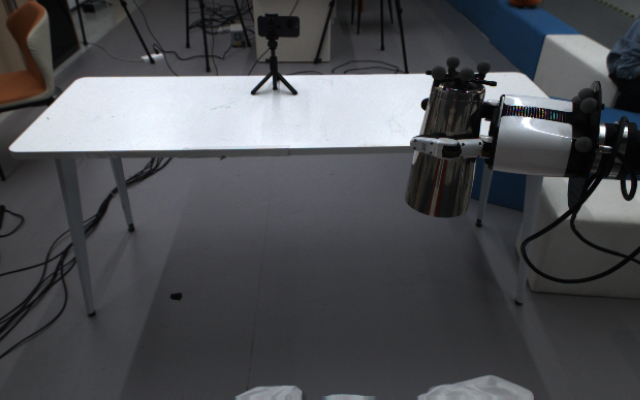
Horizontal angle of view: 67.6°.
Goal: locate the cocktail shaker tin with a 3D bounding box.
[{"bbox_3d":[0.174,-0.074,0.656,0.093,0.170,0.093,3,30,-1],"label":"cocktail shaker tin"}]
